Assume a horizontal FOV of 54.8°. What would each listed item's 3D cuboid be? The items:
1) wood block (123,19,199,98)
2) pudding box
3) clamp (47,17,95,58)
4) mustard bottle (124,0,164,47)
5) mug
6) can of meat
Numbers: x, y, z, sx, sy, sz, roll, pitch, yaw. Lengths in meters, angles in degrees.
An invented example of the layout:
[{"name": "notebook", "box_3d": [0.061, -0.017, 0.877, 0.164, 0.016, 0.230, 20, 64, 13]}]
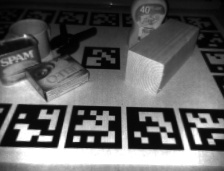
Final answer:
[{"name": "wood block", "box_3d": [0.123, -0.076, 0.532, 0.089, 0.091, 0.208, 29, 49, 25]}, {"name": "pudding box", "box_3d": [-0.129, -0.019, 0.492, 0.115, 0.039, 0.089, -29, 55, -29]}, {"name": "clamp", "box_3d": [-0.131, -0.137, 0.612, 0.121, 0.037, 0.165, 17, 49, 10]}, {"name": "mustard bottle", "box_3d": [0.085, -0.190, 0.562, 0.096, 0.192, 0.058, -3, 47, -4]}, {"name": "mug", "box_3d": [-0.214, -0.114, 0.578, 0.092, 0.082, 0.117, 18, 49, 14]}, {"name": "can of meat", "box_3d": [-0.226, -0.057, 0.483, 0.102, 0.084, 0.057, -22, 52, -22]}]
